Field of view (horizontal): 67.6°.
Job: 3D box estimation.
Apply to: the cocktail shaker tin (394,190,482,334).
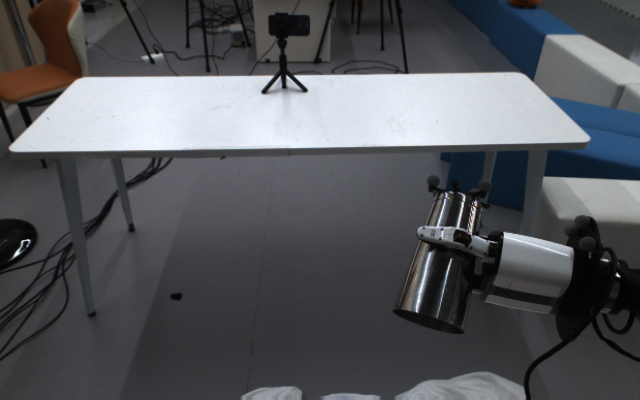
[{"bbox_3d":[0.161,0.077,0.637,0.093,0.093,0.170,14,69,17],"label":"cocktail shaker tin"}]
